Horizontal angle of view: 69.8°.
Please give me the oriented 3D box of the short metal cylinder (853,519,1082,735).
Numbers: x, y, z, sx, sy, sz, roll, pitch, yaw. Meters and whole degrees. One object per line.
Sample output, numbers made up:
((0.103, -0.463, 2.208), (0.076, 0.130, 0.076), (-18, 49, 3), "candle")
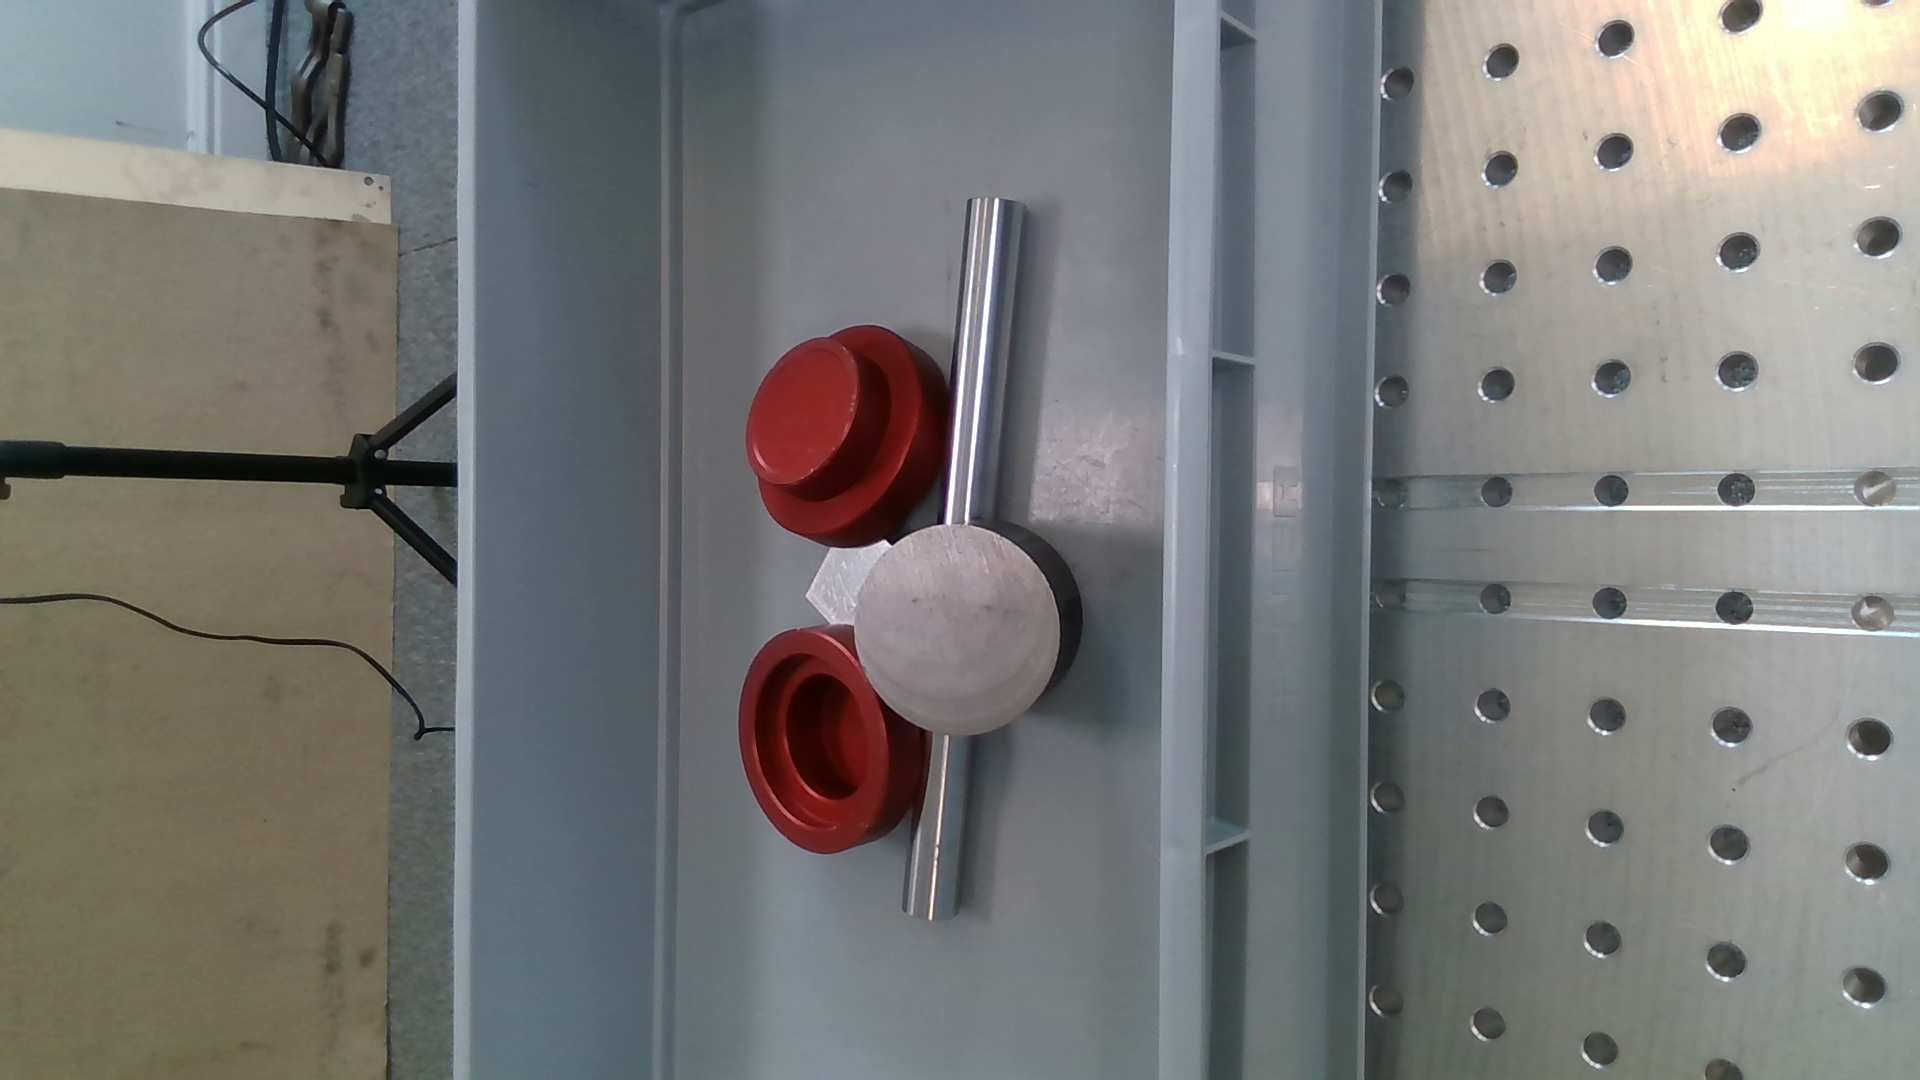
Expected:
((0.004, 0.033, 0.542), (0.080, 0.050, 0.080), (1, 94, 15), "short metal cylinder")

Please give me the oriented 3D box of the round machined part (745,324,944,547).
((-0.055, -0.049, 0.599), (0.098, 0.042, 0.098), (-17, 62, 35), "round machined part")

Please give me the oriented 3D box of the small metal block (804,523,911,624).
((-0.036, 0.020, 0.611), (0.050, 0.025, 0.050), (44, 117, 31), "small metal block")

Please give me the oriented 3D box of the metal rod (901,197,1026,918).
((0.001, 0.010, 0.580), (0.025, 0.025, 0.300), (10, 97, 40), "metal rod")

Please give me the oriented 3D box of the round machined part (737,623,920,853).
((-0.052, 0.086, 0.612), (0.098, 0.042, 0.098), (4, 96, 42), "round machined part")
